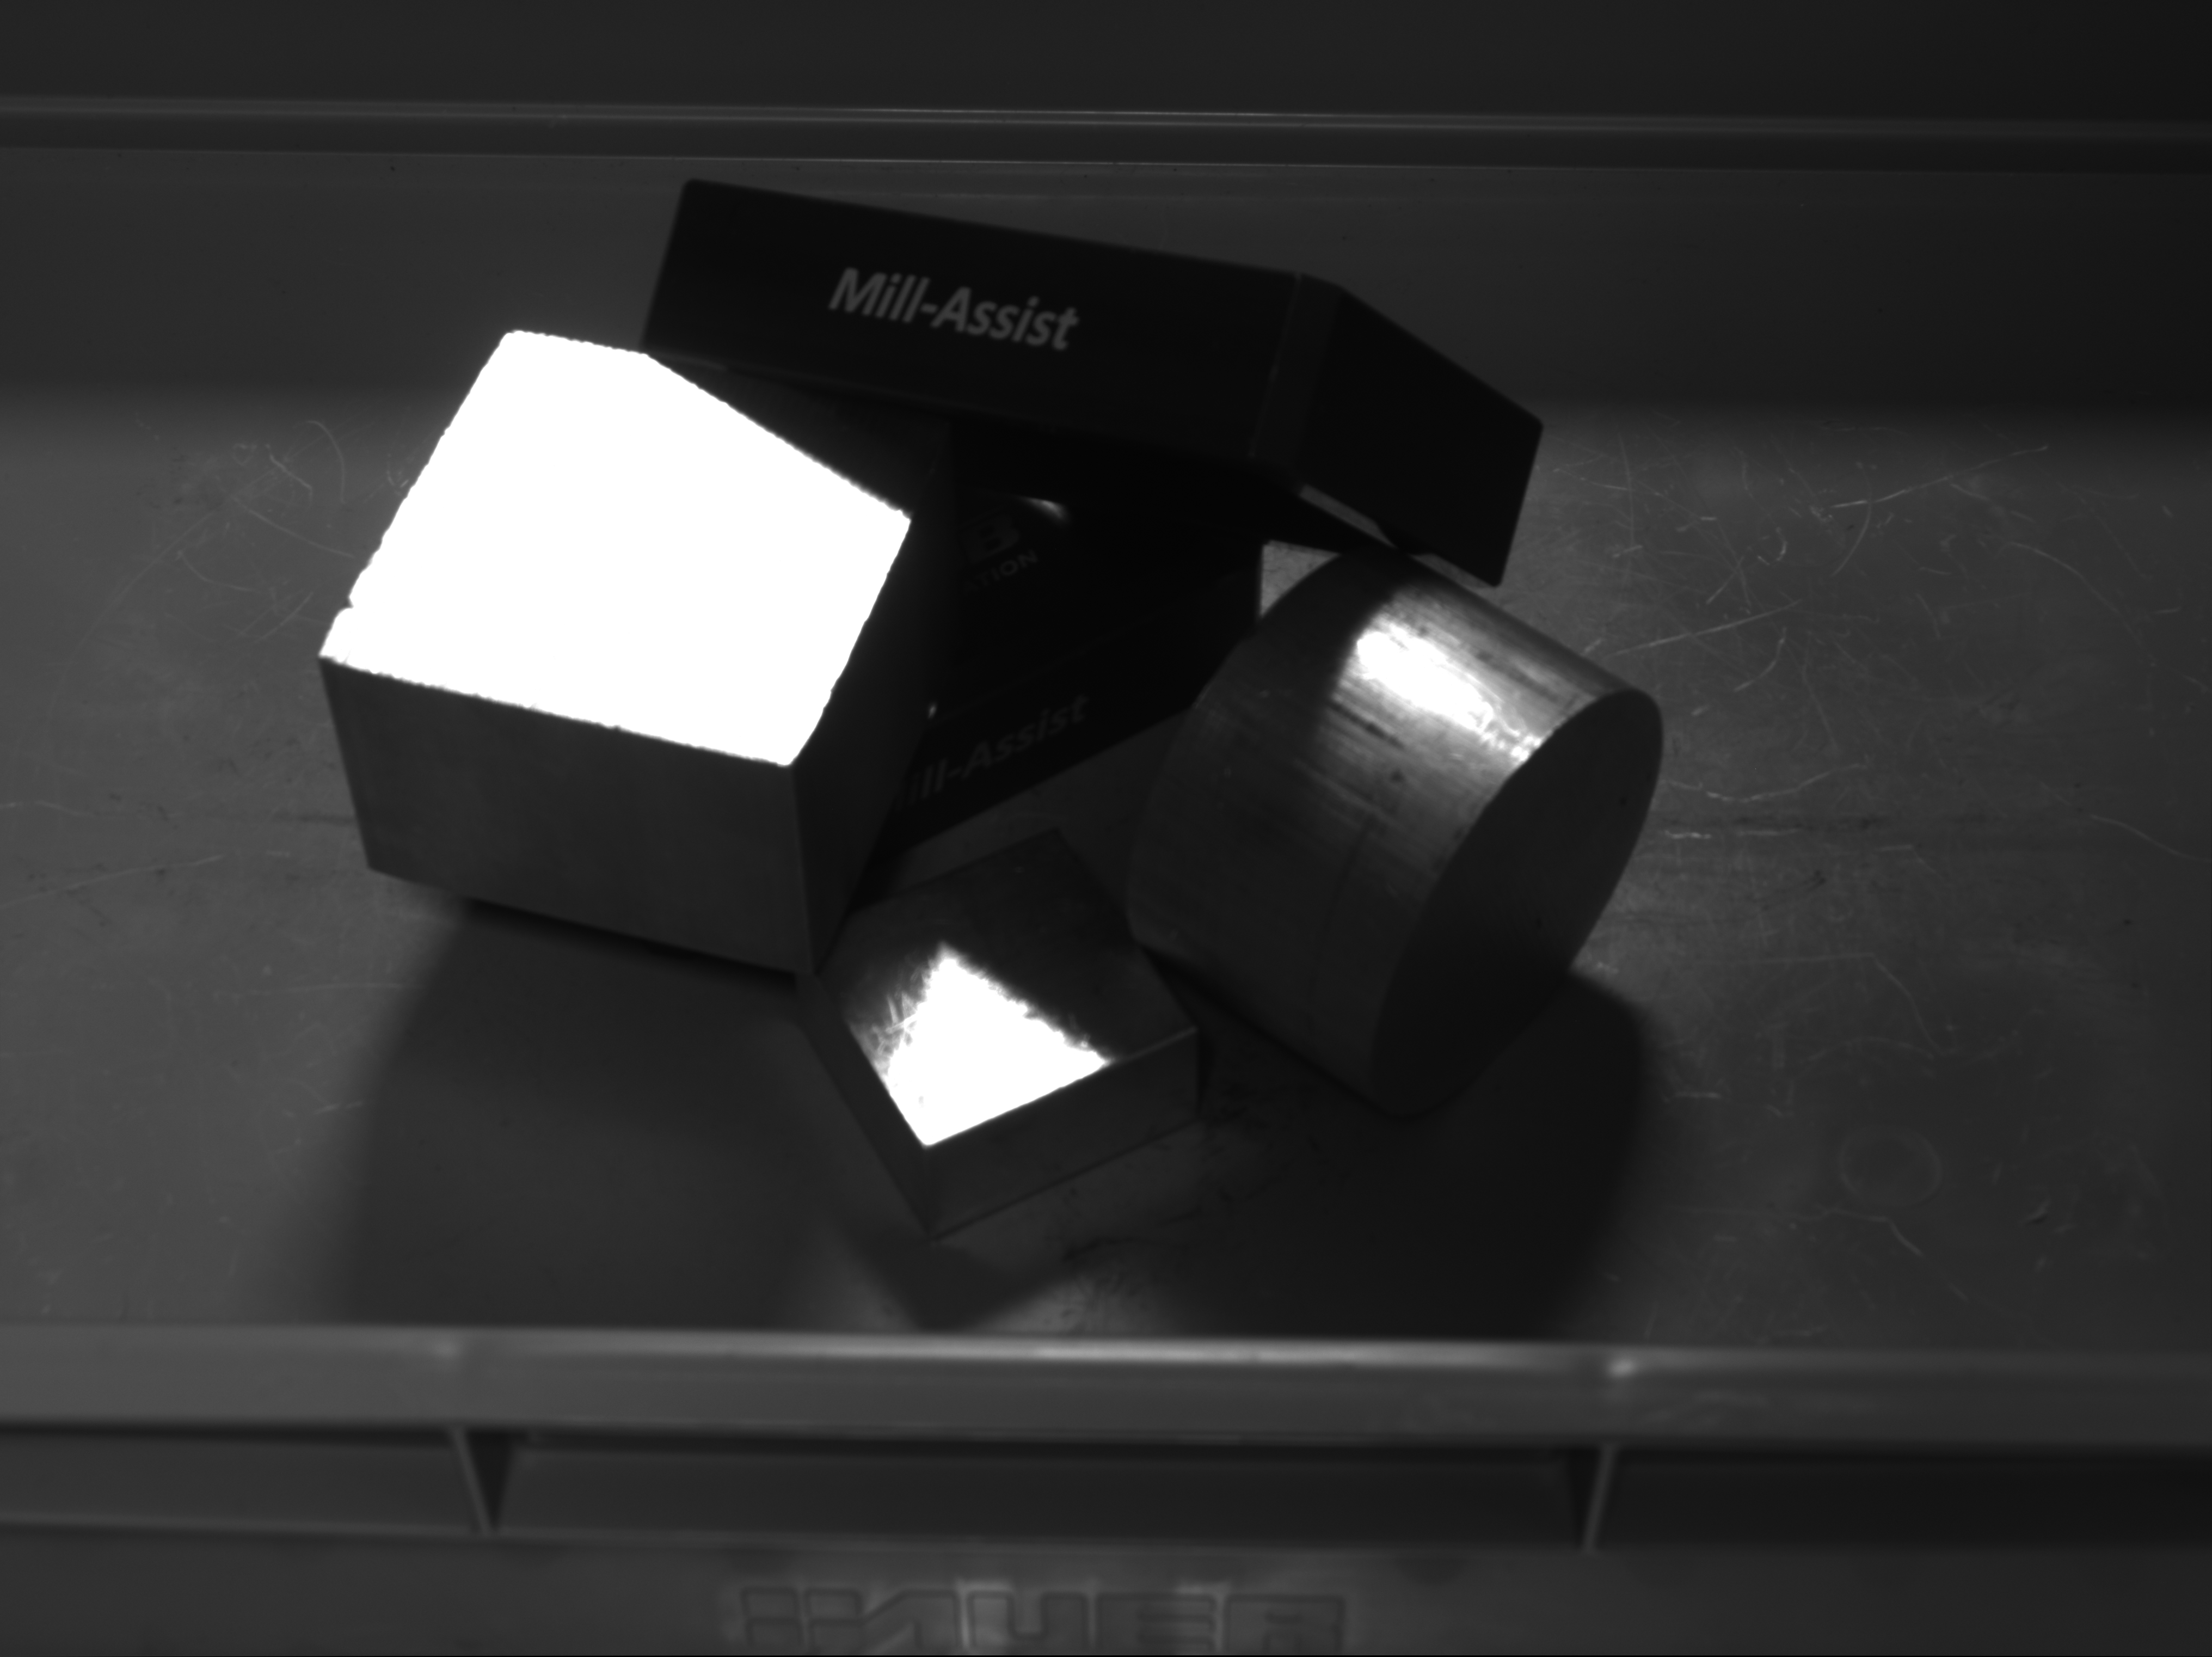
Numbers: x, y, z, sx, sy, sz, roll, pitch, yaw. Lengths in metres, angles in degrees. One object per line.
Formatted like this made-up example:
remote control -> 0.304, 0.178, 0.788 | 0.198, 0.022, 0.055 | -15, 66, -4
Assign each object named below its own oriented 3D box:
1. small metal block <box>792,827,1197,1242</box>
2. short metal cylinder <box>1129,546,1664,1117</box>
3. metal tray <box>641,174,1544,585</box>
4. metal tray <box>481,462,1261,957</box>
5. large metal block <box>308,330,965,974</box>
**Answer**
small metal block -> -0.019, 0.034, 0.612 | 0.050, 0.025, 0.050 | -23, 53, -18
short metal cylinder -> 0.048, 0.000, 0.605 | 0.050, 0.080, 0.080 | 32, 57, 24
metal tray -> -0.002, -0.076, 0.624 | 0.130, 0.090, 0.030 | 15, 88, 30
metal tray -> -0.048, -0.041, 0.671 | 0.130, 0.030, 0.090 | -27, 55, -21
large metal block -> -0.075, -0.030, 0.608 | 0.080, 0.050, 0.080 | 13, 51, 11
